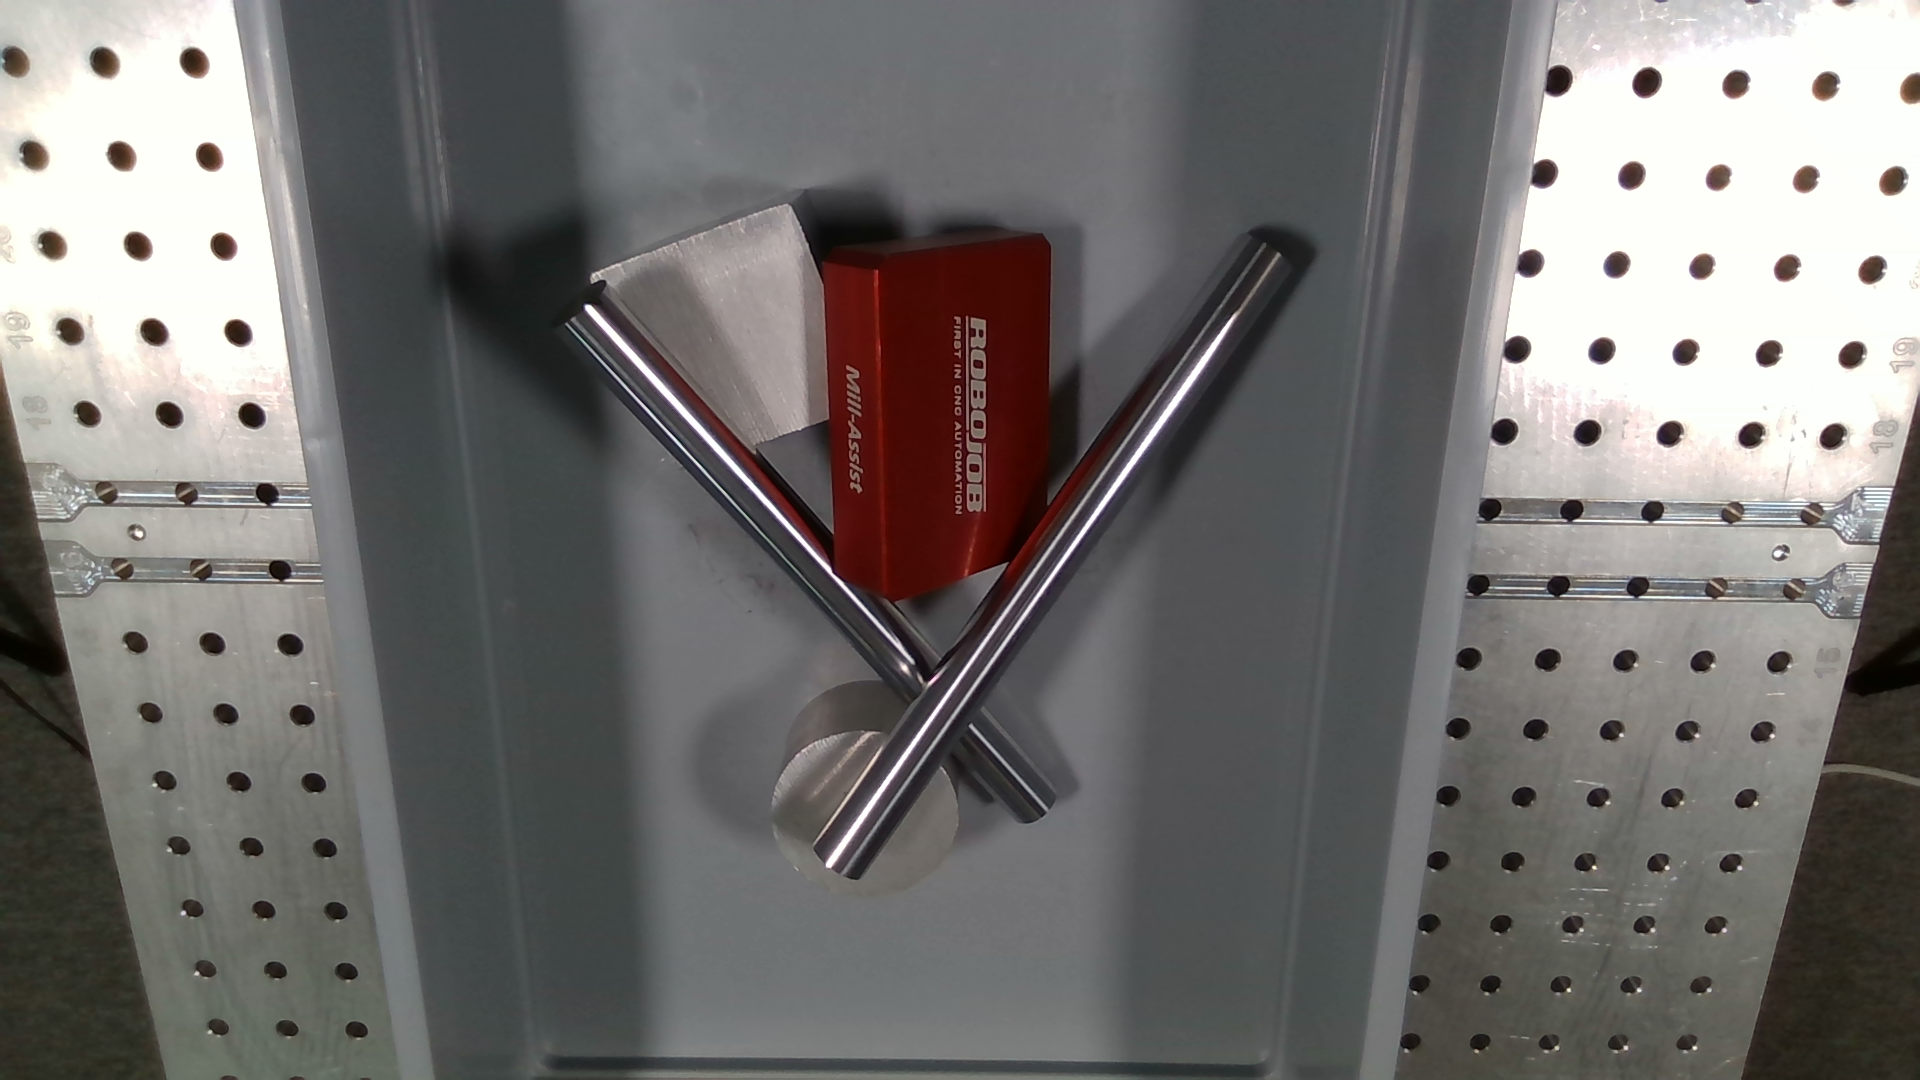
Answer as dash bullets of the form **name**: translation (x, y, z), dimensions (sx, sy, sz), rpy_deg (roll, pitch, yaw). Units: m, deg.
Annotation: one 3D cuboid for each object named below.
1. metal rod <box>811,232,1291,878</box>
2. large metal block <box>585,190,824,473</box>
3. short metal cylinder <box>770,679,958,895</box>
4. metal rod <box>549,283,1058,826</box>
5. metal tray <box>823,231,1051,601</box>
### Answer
- **metal rod**: translation (0.035, 0.008, 0.555), dimensions (0.025, 0.025, 0.300), rpy_deg (34, 94, -12)
- **large metal block**: translation (-0.086, -0.082, 0.536), dimensions (0.080, 0.050, 0.080), rpy_deg (-18, 109, 7)
- **short metal cylinder**: translation (-0.041, 0.109, 0.609), dimensions (0.080, 0.050, 0.080), rpy_deg (0, 110, 0)
- **metal rod**: translation (-0.049, 0.019, 0.551), dimensions (0.025, 0.025, 0.301), rpy_deg (-33, 121, 11)
- **metal tray**: translation (-0.007, -0.051, 0.533), dimensions (0.090, 0.030, 0.130), rpy_deg (-17, 115, -41)
